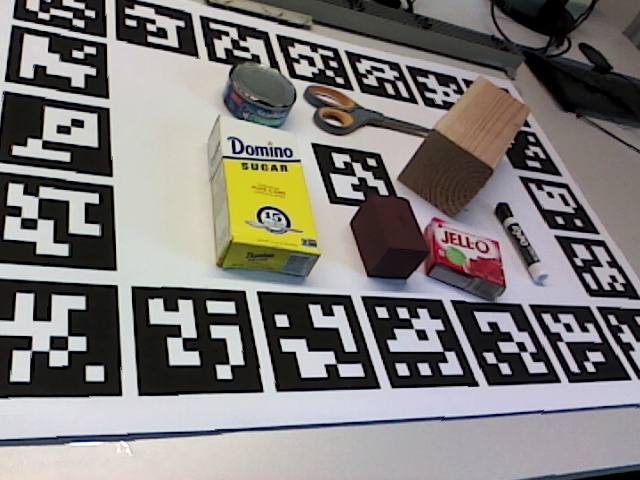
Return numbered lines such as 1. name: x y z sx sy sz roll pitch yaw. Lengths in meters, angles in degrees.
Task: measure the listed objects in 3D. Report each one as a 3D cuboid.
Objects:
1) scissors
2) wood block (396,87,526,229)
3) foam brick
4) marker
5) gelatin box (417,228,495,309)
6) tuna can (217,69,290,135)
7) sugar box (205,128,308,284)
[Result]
1. scissors: 0.066 -0.156 0.852 0.202 0.016 0.088 10 49 -19
2. wood block: 0.197 -0.117 0.841 0.090 0.091 0.206 37 43 5
3. foam brick: 0.070 0.008 0.679 0.052 0.051 0.078 6 51 -24
4. marker: 0.246 0.012 0.800 0.019 0.020 0.121 6 52 -25
5. gelatin box: 0.159 0.033 0.728 0.089 0.030 0.073 20 46 -12
6. tuna can: -0.083 -0.170 0.765 0.085 0.034 0.086 15 47 -17
7. sugar box: -0.071 -0.039 0.654 0.092 0.045 0.177 9 49 -23
